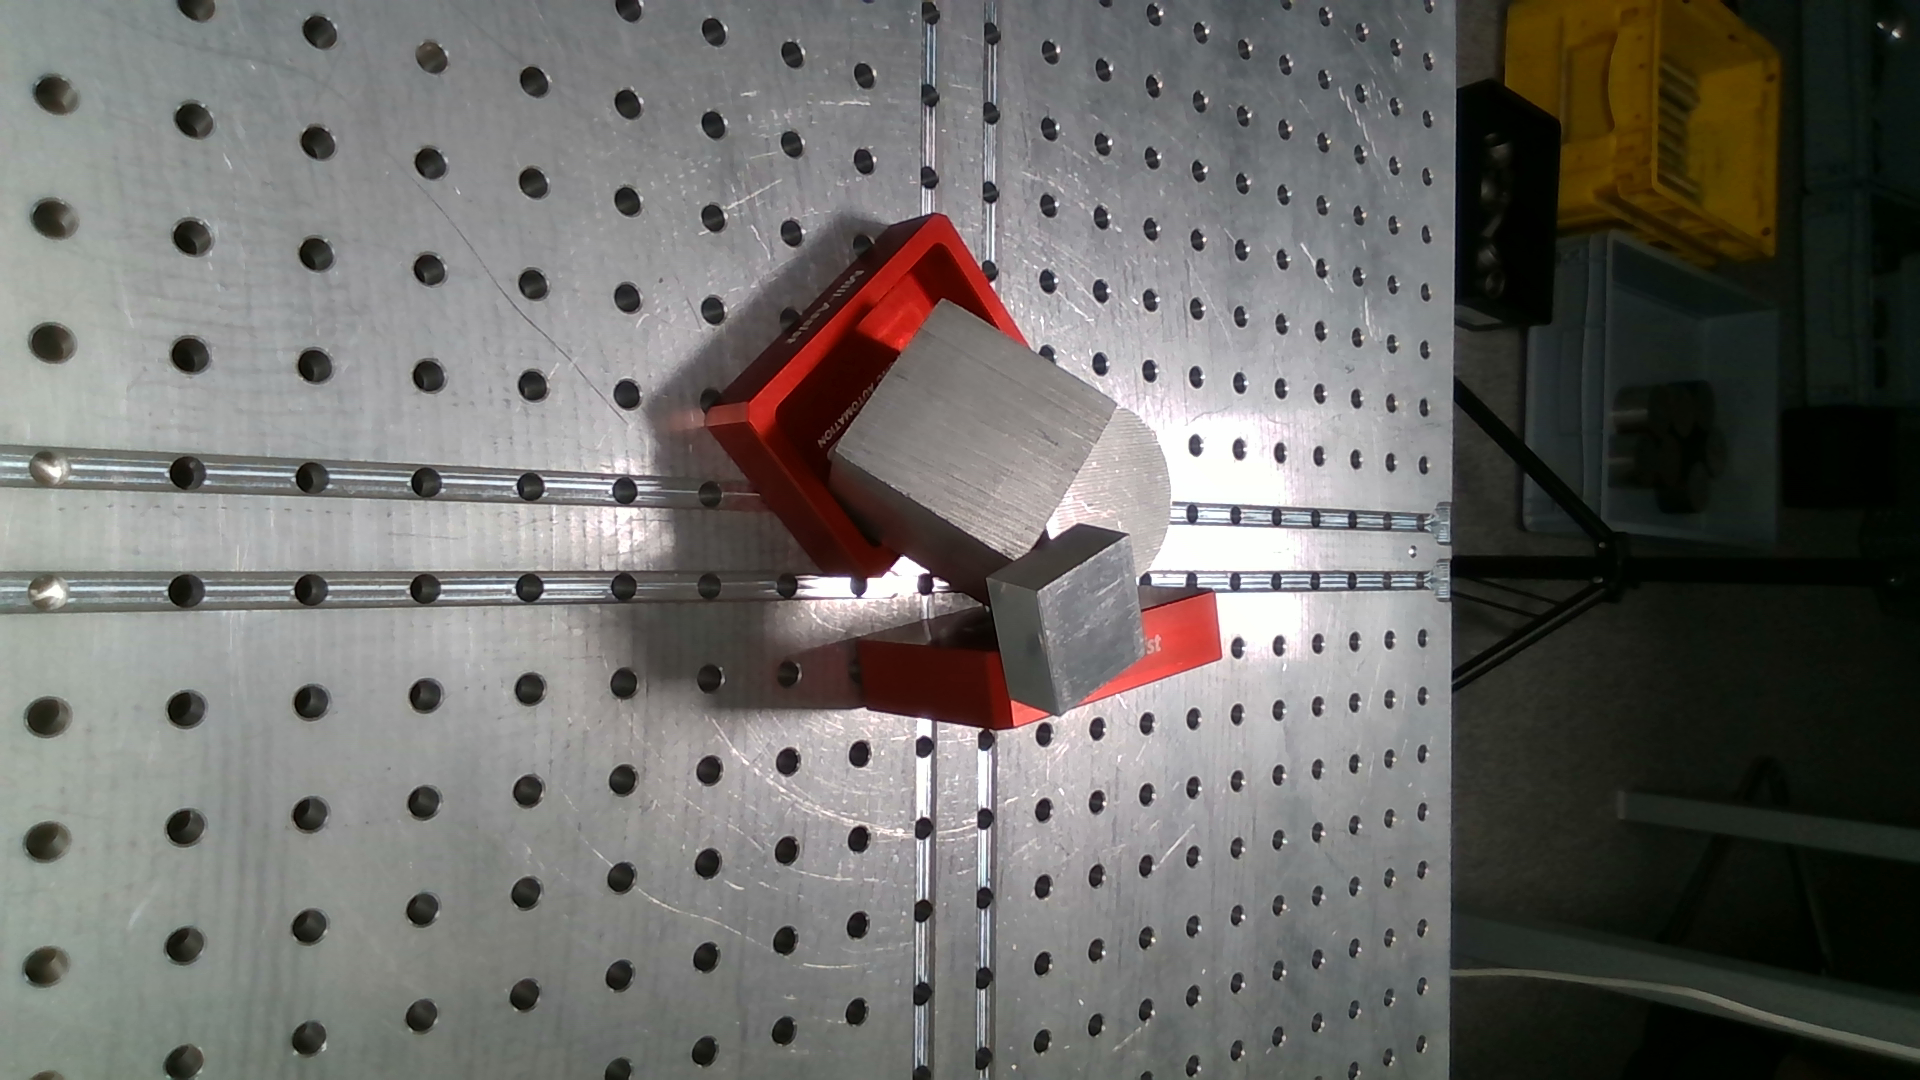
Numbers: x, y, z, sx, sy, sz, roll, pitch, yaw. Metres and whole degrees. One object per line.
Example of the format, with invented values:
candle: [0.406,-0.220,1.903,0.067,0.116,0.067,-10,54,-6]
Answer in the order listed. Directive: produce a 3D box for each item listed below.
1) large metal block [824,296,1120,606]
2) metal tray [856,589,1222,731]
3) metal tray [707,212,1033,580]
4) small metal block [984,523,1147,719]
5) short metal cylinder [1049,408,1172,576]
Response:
large metal block: [0.003,-0.033,0.531,0.080,0.050,0.080,31,66,2]
metal tray: [0.034,0.045,0.572,0.130,0.090,0.030,-12,97,-40]
metal tray: [-0.029,-0.058,0.557,0.130,0.030,0.090,-51,120,-28]
small metal block: [0.039,0.028,0.496,0.050,0.025,0.050,-29,120,-36]
short metal cylinder: [0.048,-0.019,0.611,0.080,0.050,0.080,0,90,-40]
